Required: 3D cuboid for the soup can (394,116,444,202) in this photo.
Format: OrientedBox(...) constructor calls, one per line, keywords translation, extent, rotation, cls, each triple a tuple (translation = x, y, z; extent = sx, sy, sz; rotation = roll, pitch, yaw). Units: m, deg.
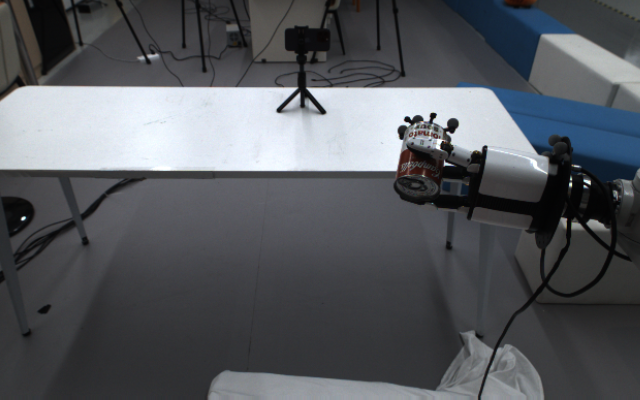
OrientedBox(translation=(0.152, -0.060, 0.724), extent=(0.067, 0.067, 0.101), rotation=(9, 61, 10), cls="soup can")
